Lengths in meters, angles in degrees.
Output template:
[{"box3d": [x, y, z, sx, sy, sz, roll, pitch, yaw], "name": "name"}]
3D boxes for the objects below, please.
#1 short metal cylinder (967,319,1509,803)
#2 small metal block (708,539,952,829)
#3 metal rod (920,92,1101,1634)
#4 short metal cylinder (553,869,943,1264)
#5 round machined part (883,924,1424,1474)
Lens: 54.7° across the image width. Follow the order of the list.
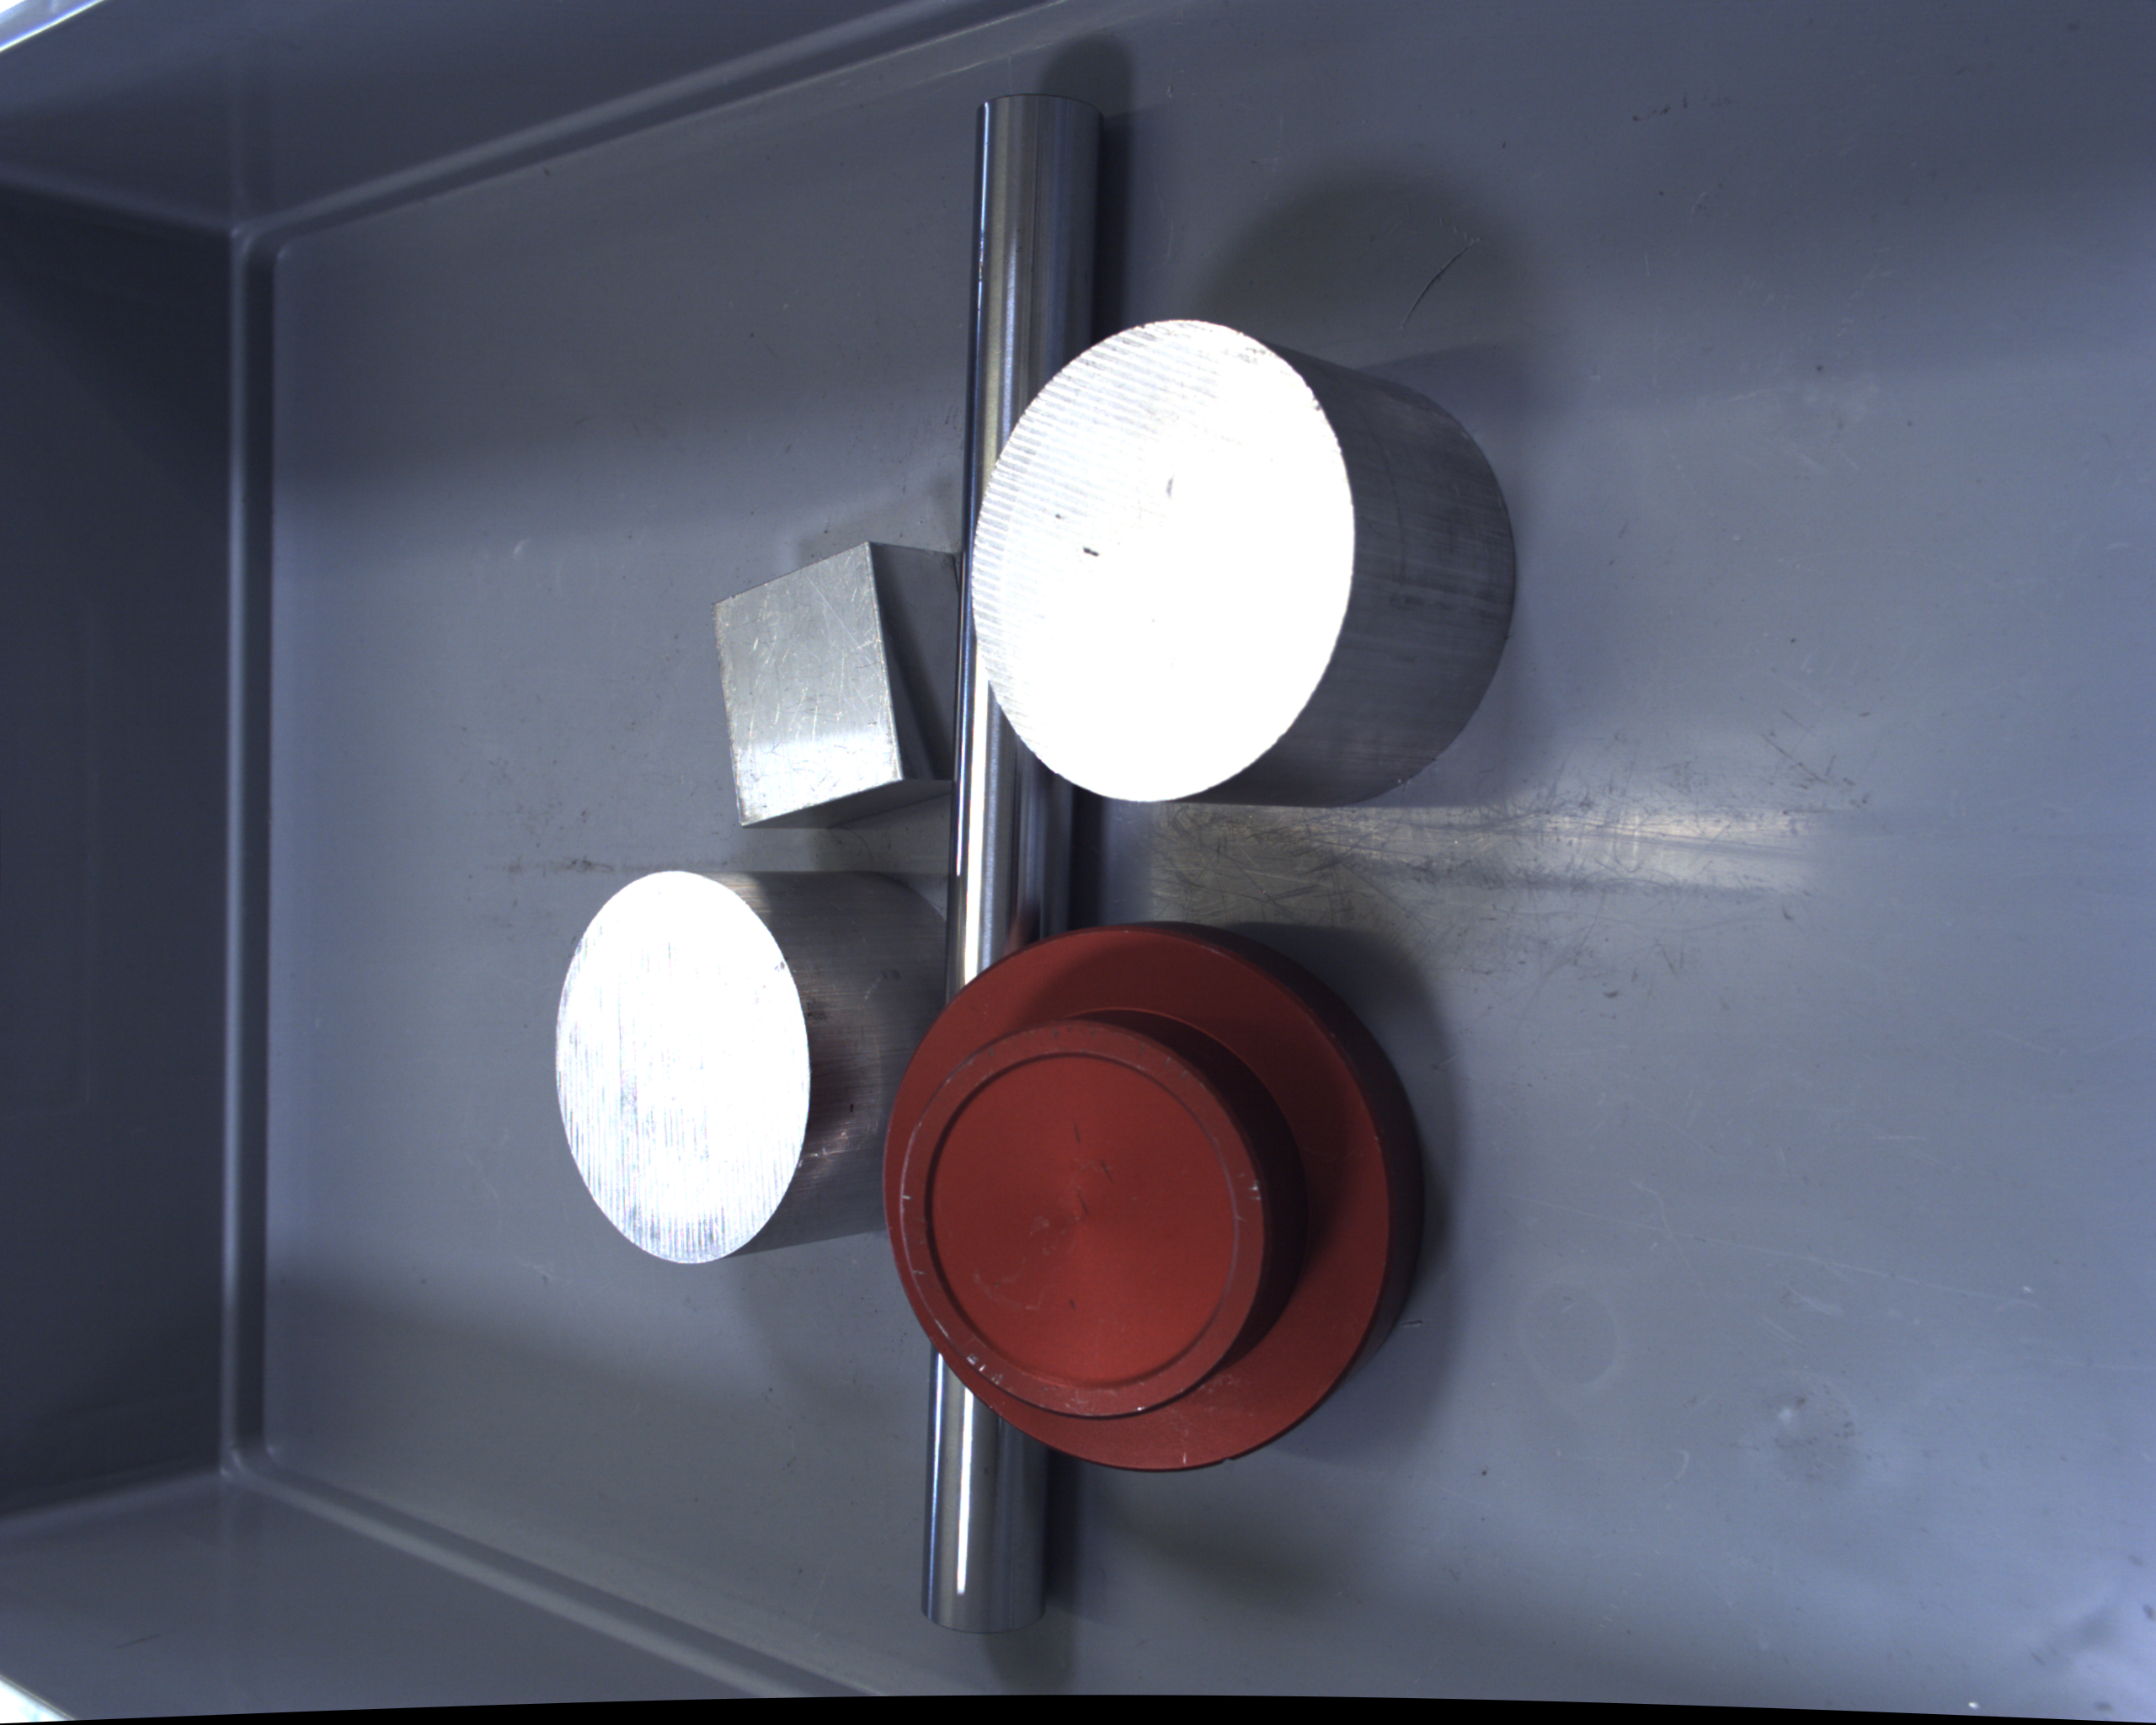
[{"box3d": [0.027, -0.050, 0.365, 0.080, 0.050, 0.079, 0, 90, 40], "name": "short metal cylinder"}, {"box3d": [-0.050, -0.037, 0.445, 0.050, 0.025, 0.050, -14, 81, 39], "name": "small metal block"}, {"box3d": [-0.014, 0.001, 0.415, 0.025, 0.025, 0.298, 4, 92, 40], "name": "metal rod"}, {"box3d": [-0.066, 0.041, 0.442, 0.080, 0.050, 0.079, 0, 90, 40], "name": "short metal cylinder"}, {"box3d": [0.008, 0.060, 0.371, 0.098, 0.042, 0.097, 0, 89, 24], "name": "round machined part"}]
